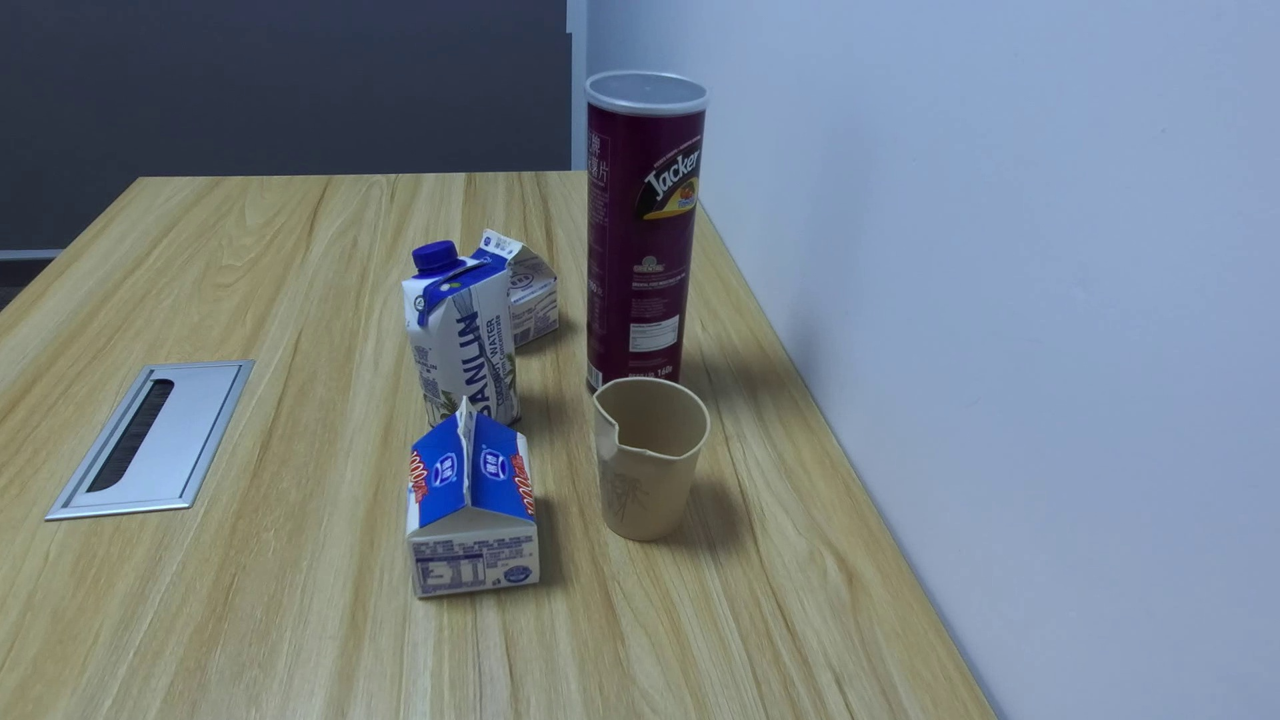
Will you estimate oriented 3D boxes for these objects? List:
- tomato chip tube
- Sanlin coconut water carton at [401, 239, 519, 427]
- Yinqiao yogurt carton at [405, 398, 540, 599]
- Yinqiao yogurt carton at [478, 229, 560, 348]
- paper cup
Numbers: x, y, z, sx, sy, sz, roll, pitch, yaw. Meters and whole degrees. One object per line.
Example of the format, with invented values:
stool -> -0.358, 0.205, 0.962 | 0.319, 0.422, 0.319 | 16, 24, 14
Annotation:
tomato chip tube -> -0.001, -0.074, 0.507 | 0.078, 0.234, 0.078 | 2, 35, -1
Sanlin coconut water carton -> -0.123, -0.012, 0.495 | 0.057, 0.142, 0.078 | 21, 39, 32
Yinqiao yogurt carton -> -0.099, 0.078, 0.412 | 0.074, 0.092, 0.075 | -4, 38, -12
Yinqiao yogurt carton -> -0.117, -0.067, 0.606 | 0.083, 0.093, 0.077 | 32, 45, 33
paper cup -> 0.004, 0.064, 0.441 | 0.073, 0.081, 0.069 | 10, 36, 8
